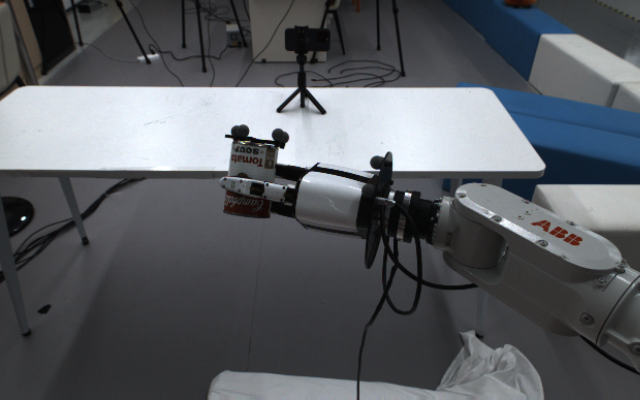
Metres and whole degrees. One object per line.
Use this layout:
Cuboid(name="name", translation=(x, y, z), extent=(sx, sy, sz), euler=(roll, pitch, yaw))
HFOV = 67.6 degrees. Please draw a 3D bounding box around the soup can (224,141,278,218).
Cuboid(name="soup can", translation=(-0.097, -0.029, 0.687), extent=(0.067, 0.101, 0.067), euler=(7, 4, 0))
